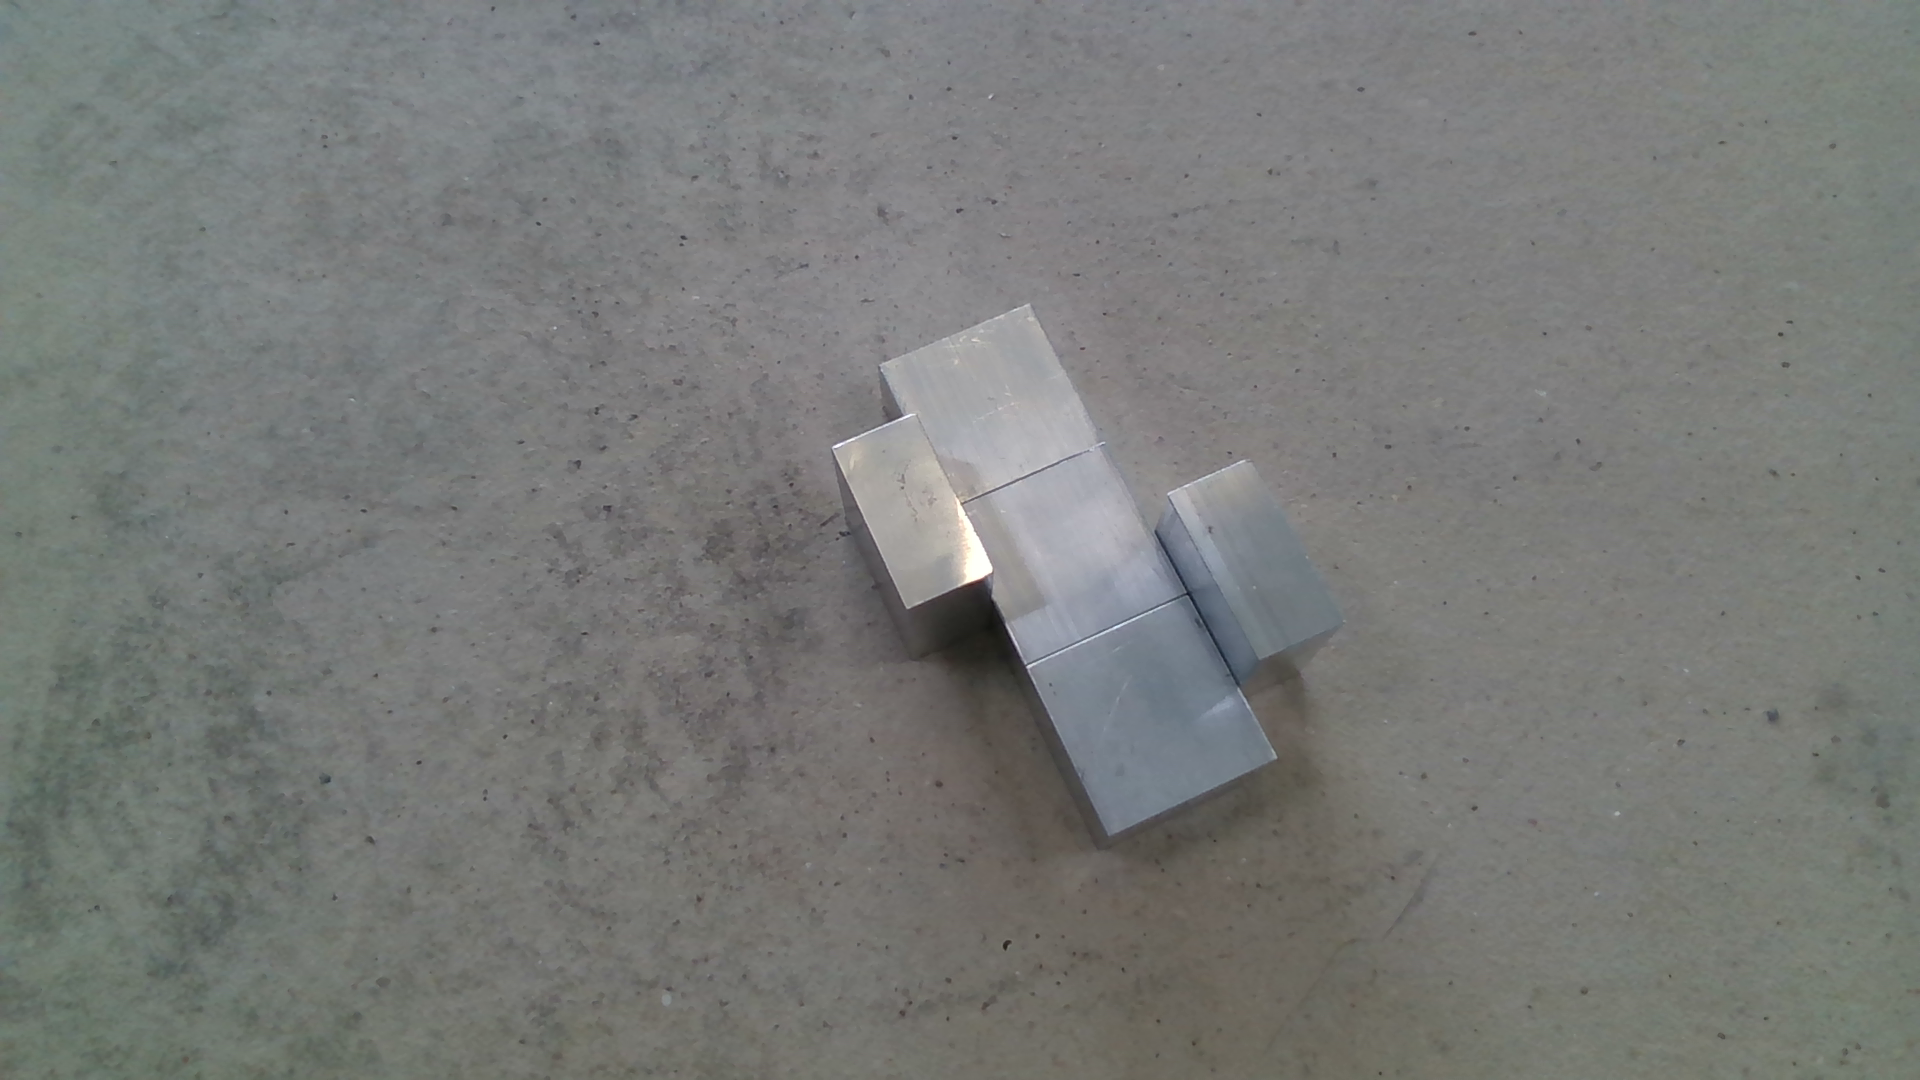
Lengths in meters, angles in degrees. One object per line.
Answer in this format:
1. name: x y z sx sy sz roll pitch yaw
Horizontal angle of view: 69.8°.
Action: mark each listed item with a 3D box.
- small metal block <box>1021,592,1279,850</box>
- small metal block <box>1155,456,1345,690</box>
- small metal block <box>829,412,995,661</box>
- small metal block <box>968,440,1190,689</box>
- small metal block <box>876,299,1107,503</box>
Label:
1. small metal block: 0.051 0.050 0.378 0.050 0.025 0.050 -24 72 -8
2. small metal block: 0.076 0.013 0.378 0.025 0.050 0.050 -23 71 -8
3. small metal block: -0.013 0.001 0.382 0.025 0.050 0.050 -24 72 -9
4. small metal block: 0.030 0.007 0.393 0.050 0.025 0.050 -24 72 -8
5. small metal block: 0.009 -0.036 0.408 0.050 0.025 0.050 -24 72 -8
